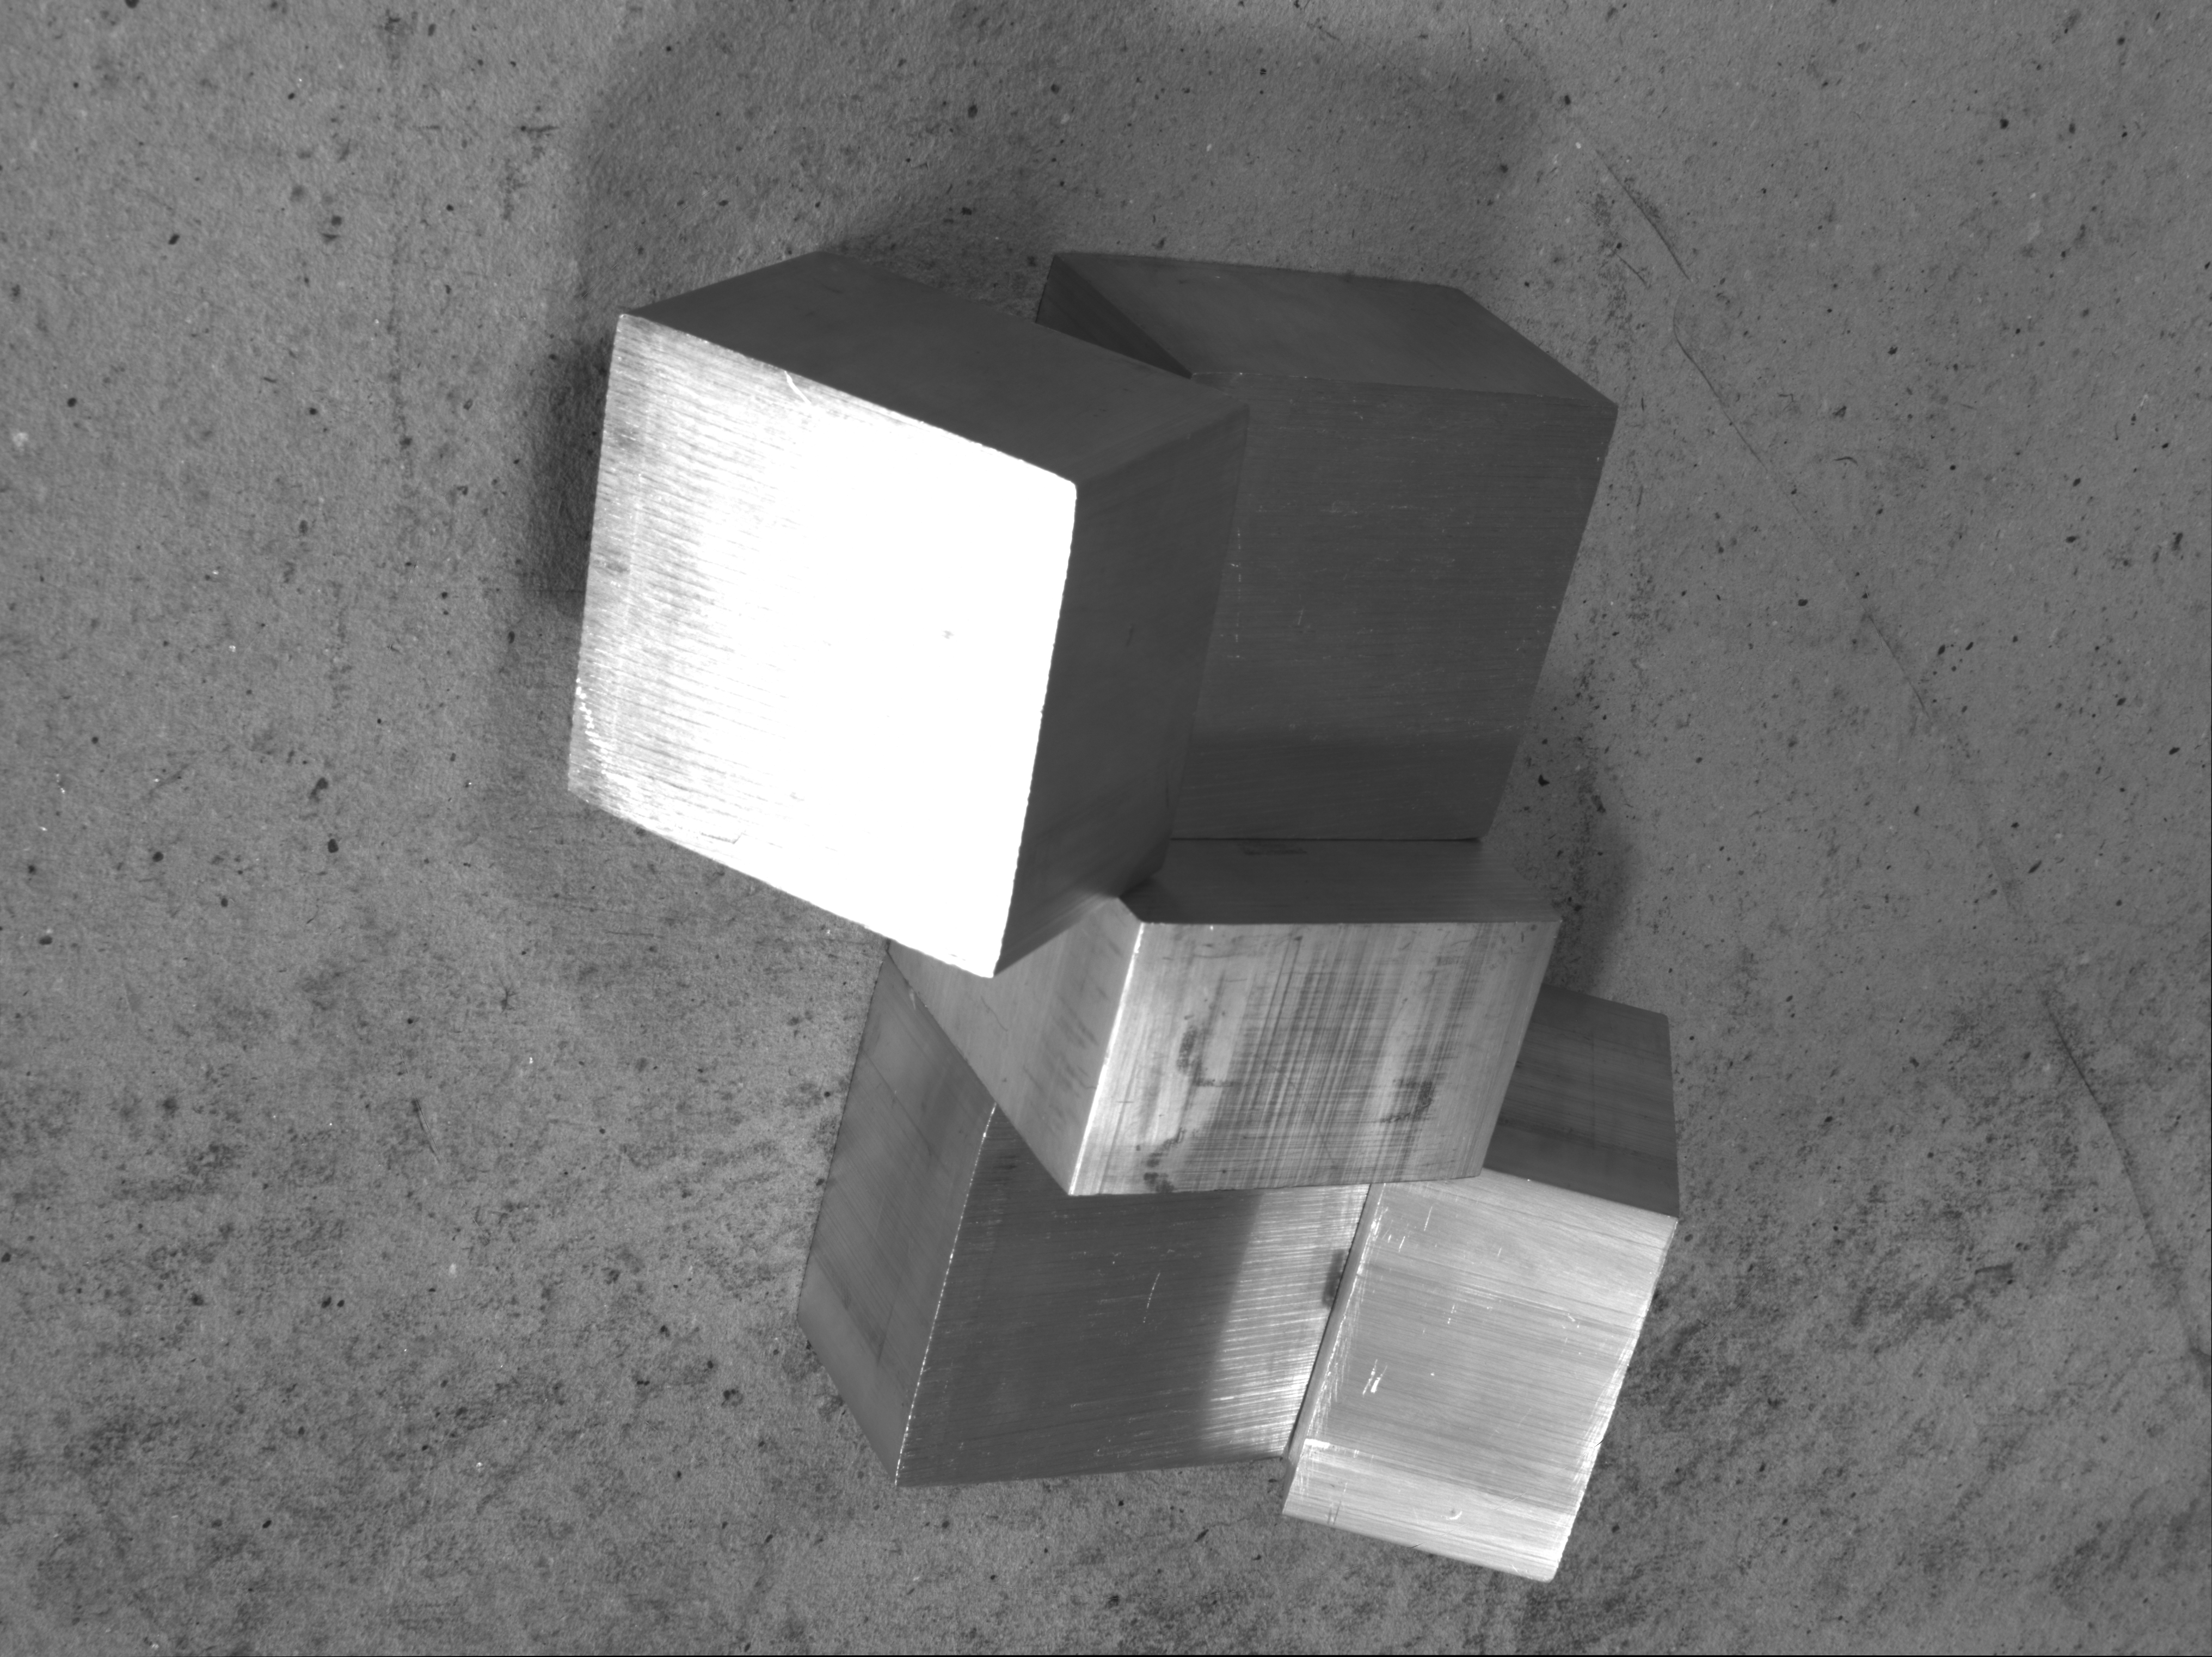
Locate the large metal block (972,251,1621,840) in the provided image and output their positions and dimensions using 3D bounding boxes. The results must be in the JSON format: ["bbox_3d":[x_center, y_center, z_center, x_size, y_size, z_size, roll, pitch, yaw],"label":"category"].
[{"bbox_3d":[0.028,-0.046,0.607,0.080,0.050,0.080,1,117,-28],"label":"large metal block"}]

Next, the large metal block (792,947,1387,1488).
[{"bbox_3d":[-0.003,0.069,0.661,0.080,0.050,0.080,1,118,-28],"label":"large metal block"}]

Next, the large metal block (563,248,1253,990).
[{"bbox_3d":[-0.031,-0.034,0.556,0.050,0.080,0.080,-31,138,-54],"label":"large metal block"}]

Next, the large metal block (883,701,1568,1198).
[{"bbox_3d":[0.018,0.018,0.623,0.080,0.080,0.050,0,118,-28],"label":"large metal block"}]

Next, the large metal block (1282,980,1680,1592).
[{"bbox_3d":[0.069,0.080,0.678,0.050,0.080,0.080,15,114,1],"label":"large metal block"}]
